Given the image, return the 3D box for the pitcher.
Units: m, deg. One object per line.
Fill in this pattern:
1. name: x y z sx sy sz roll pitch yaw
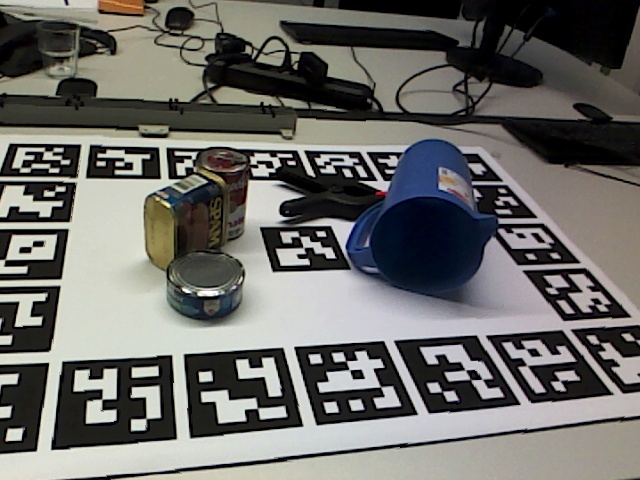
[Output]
1. pitcher: 0.135 -0.038 0.826 0.189 0.133 0.242 -8 24 14

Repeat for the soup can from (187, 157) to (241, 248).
1. soup can: -0.138 -0.048 0.808 0.068 0.102 0.068 5 37 -4

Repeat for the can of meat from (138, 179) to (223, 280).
1. can of meat: -0.167 -0.011 0.739 0.058 0.101 0.083 32 44 28

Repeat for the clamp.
1. clamp: -0.007 -0.051 0.918 0.164 0.036 0.122 3 30 -16

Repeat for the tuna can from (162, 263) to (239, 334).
1. tuna can: -0.136 0.066 0.700 0.085 0.033 0.086 7 36 -5
